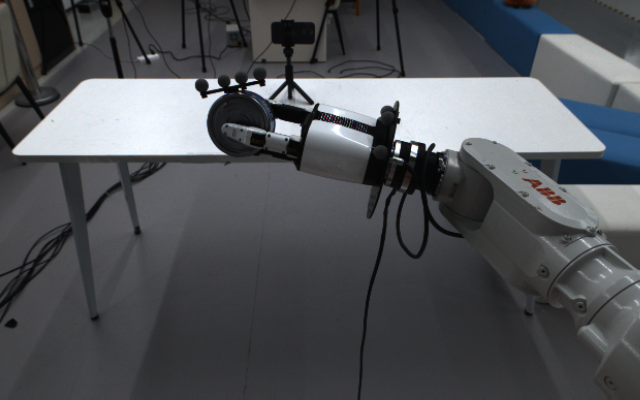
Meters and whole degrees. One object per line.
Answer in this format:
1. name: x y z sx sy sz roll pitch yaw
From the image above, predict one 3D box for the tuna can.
1. tuna can: -0.101 -0.095 0.636 0.085 0.085 0.034 6 18 5
